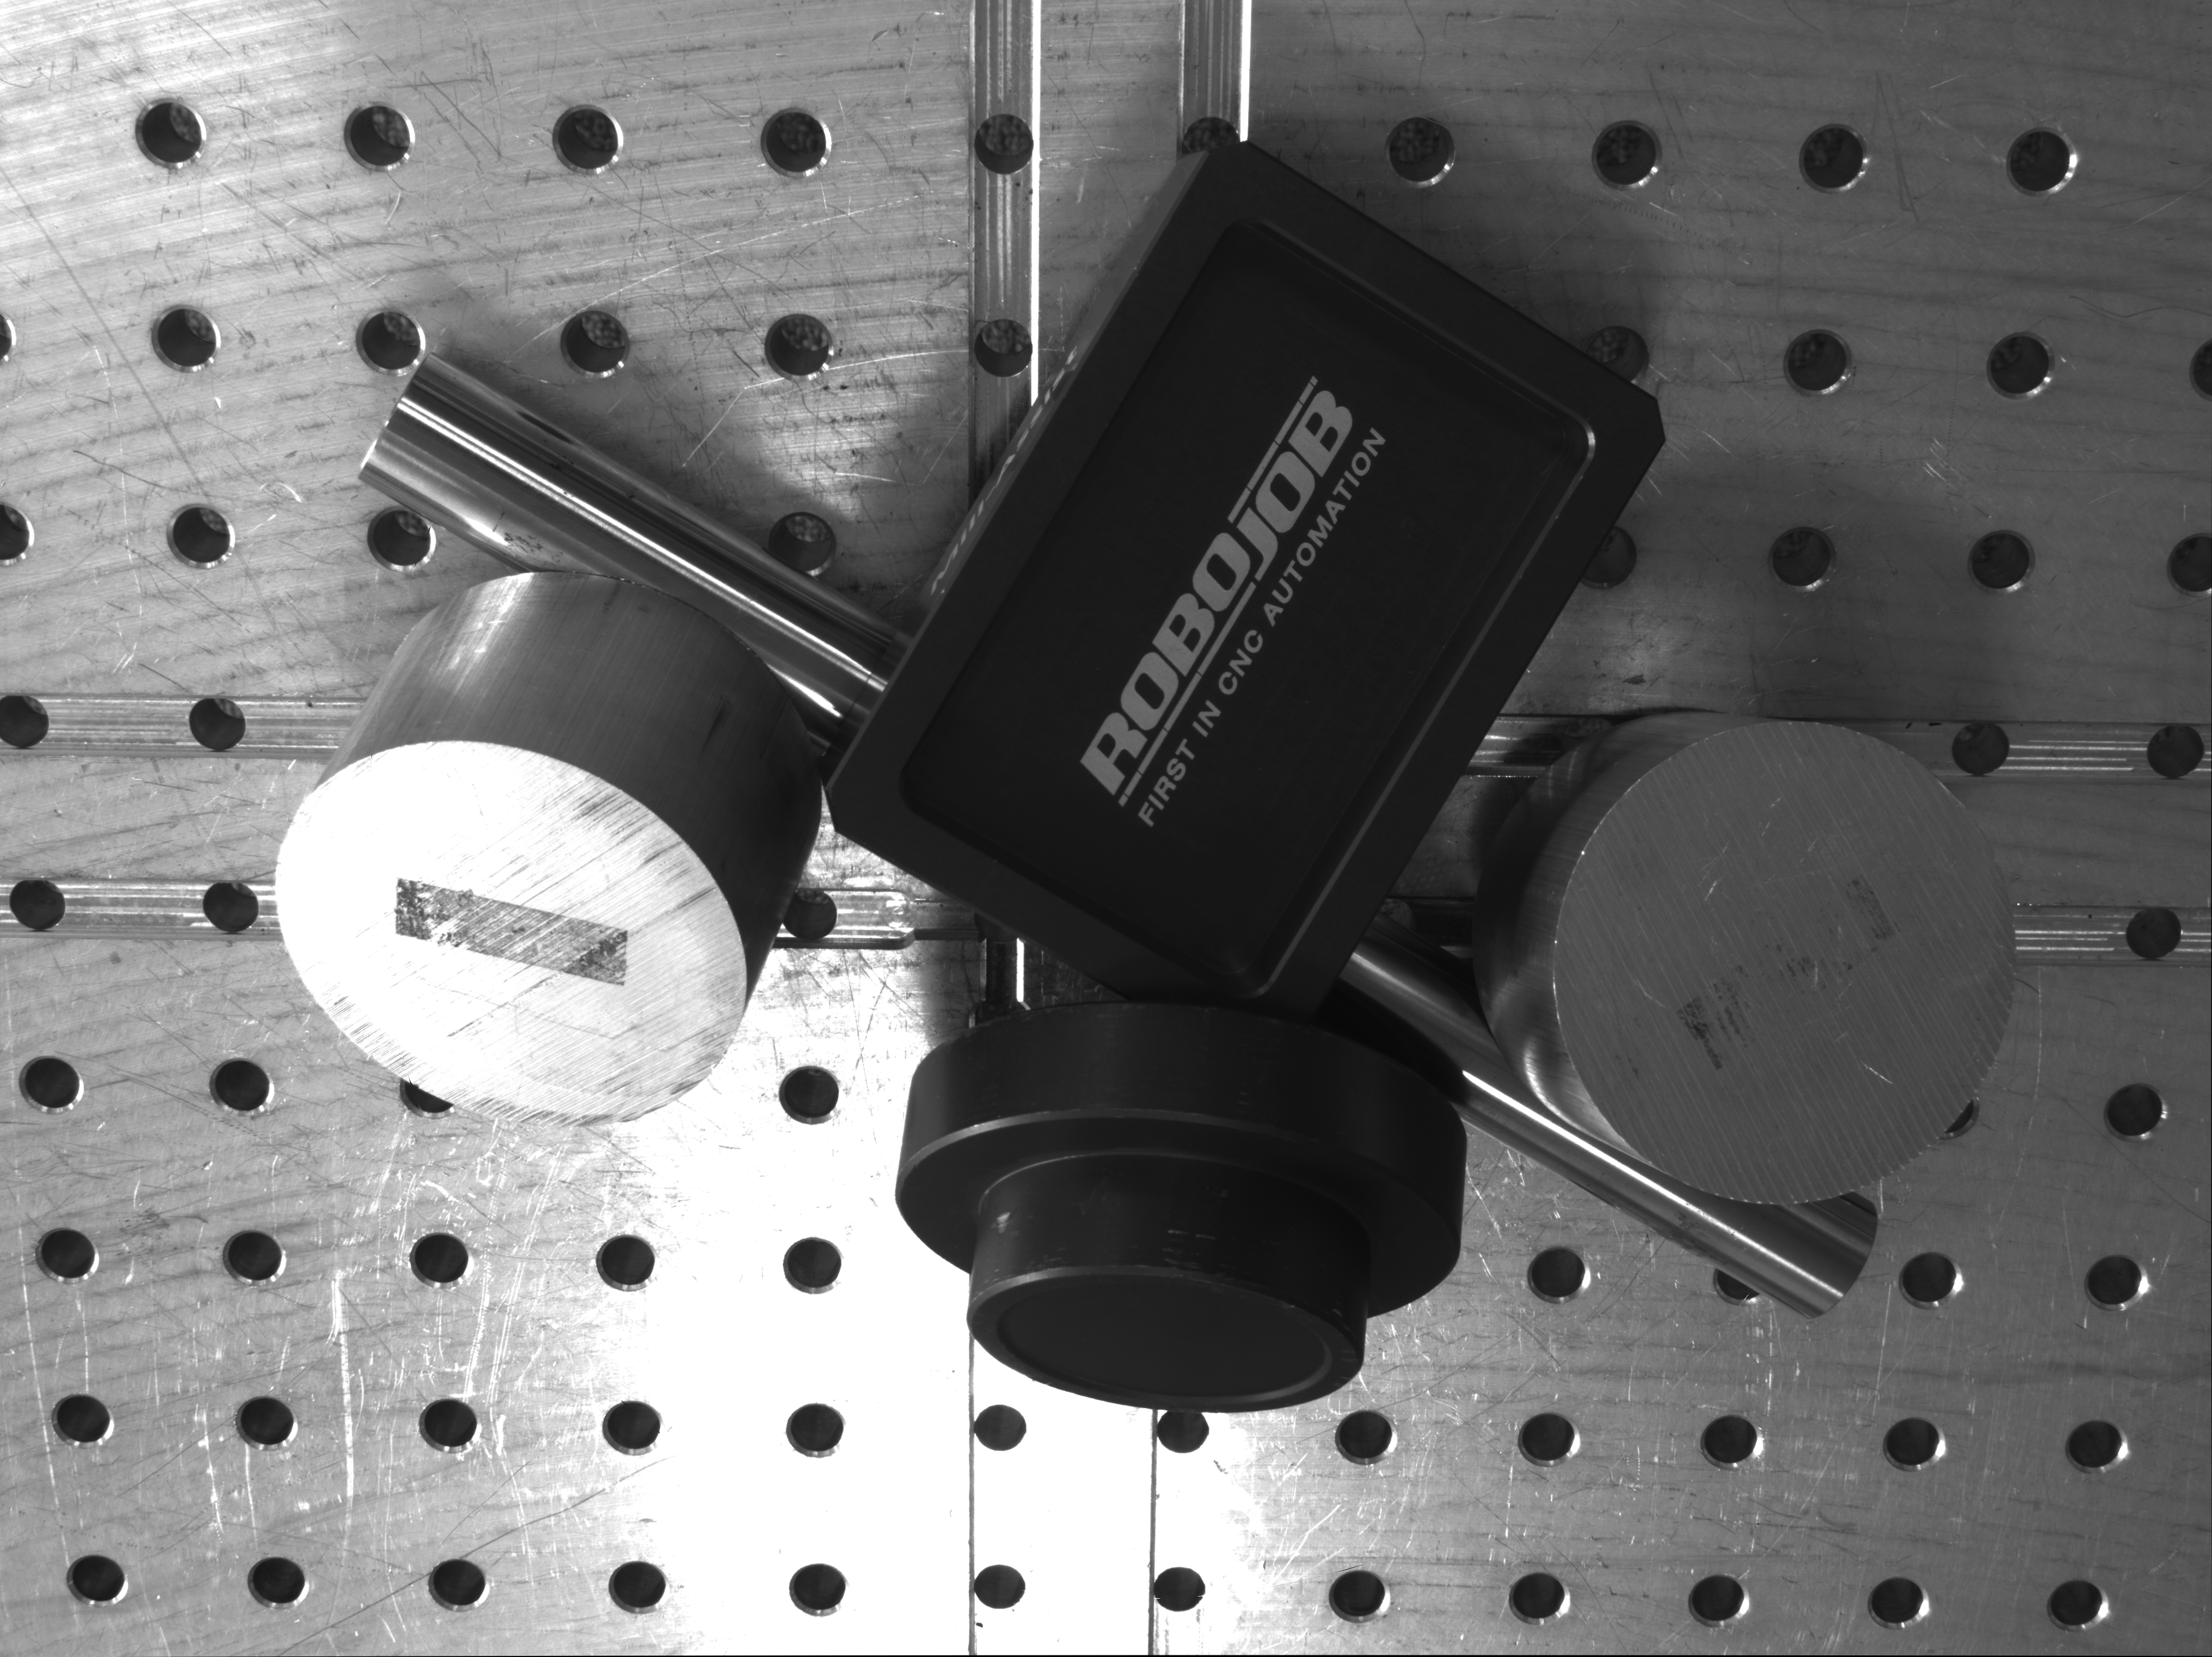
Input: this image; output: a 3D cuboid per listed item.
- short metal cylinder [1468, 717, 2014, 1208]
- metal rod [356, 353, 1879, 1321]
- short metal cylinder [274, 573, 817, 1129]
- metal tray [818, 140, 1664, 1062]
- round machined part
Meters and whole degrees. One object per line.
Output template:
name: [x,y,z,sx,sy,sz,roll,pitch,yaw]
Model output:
short metal cylinder: [0.108,0.021,0.628,0.080,0.050,0.080,-1,93,-11]
metal rod: [0.007,0.005,0.648,0.300,0.025,0.025,30,107,-10]
short metal cylinder: [-0.094,0.004,0.621,0.080,0.050,0.080,6,127,8]
metal tray: [0.021,-0.037,0.614,0.090,0.030,0.130,30,94,-10]
round machined part: [0.012,0.070,0.634,0.098,0.042,0.098,5,153,3]
